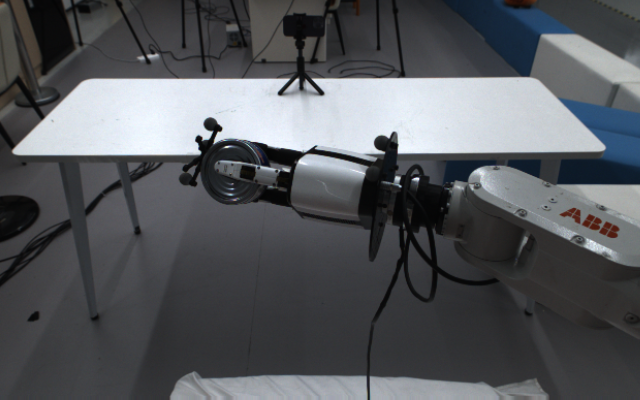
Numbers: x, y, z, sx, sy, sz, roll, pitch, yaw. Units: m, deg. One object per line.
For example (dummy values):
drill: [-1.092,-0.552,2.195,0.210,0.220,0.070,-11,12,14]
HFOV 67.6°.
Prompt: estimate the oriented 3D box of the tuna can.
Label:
tuna can: [-0.106,-0.033,0.622,0.085,0.085,0.034,9,5,10]
